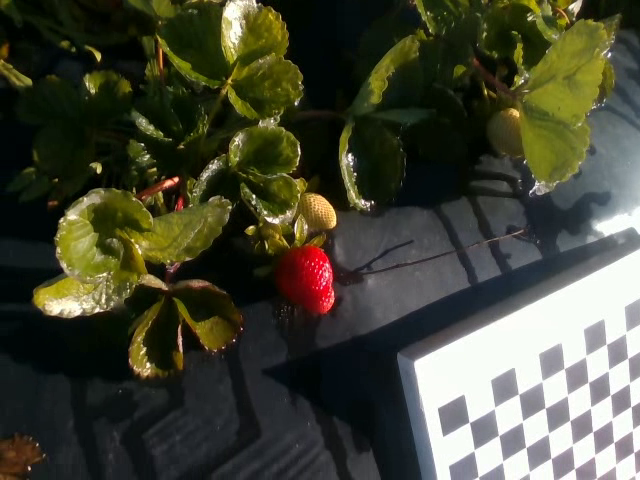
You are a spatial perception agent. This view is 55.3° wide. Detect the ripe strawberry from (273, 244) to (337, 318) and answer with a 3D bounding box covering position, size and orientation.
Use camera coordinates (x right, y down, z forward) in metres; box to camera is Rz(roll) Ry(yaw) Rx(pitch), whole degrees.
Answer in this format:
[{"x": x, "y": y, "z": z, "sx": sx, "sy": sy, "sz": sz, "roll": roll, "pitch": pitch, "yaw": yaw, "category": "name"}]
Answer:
[{"x": -0.003, "y": 0.023, "z": 0.301, "sx": 0.039, "sy": 0.040, "sz": 0.039, "roll": -26, "pitch": 46, "yaw": -9, "category": "ripe strawberry"}]
